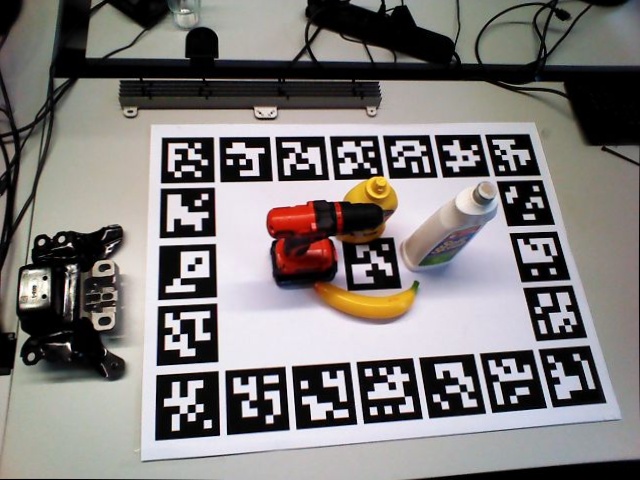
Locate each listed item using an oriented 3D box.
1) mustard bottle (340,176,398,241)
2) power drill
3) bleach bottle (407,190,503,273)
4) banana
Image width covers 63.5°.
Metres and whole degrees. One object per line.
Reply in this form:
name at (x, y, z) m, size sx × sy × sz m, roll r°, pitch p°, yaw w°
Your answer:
mustard bottle at (0.096, -0.058, 0.889) m, size 0.096 × 0.192 × 0.058 m, roll -1°, pitch 68°, yaw -10°
power drill at (0.002, -0.006, 0.835) m, size 0.184 × 0.188 × 0.057 m, roll -4°, pitch 62°, yaw -12°
bleach bottle at (0.232, -0.015, 0.868) m, size 0.102 × 0.252 × 0.067 m, roll -9°, pitch 71°, yaw -12°
banana at (0.101, 0.102, 0.908) m, size 0.197 × 0.039 × 0.074 m, roll 1°, pitch 73°, yaw -6°
